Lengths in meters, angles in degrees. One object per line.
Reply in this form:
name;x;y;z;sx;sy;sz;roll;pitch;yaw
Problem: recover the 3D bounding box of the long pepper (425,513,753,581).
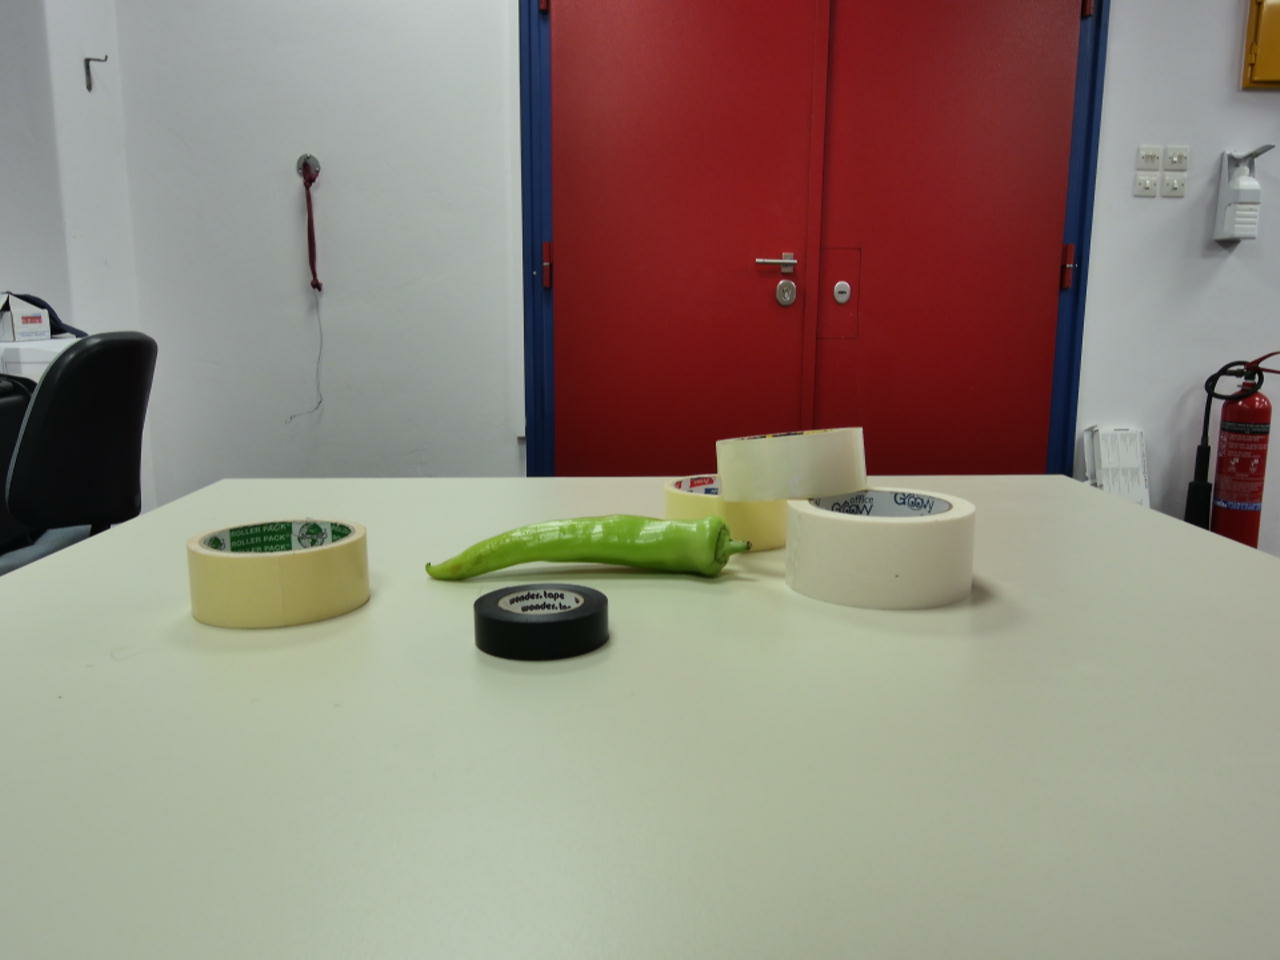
long pepper;-0.032;0.040;0.608;0.197;0.038;0.046;0;8;1
